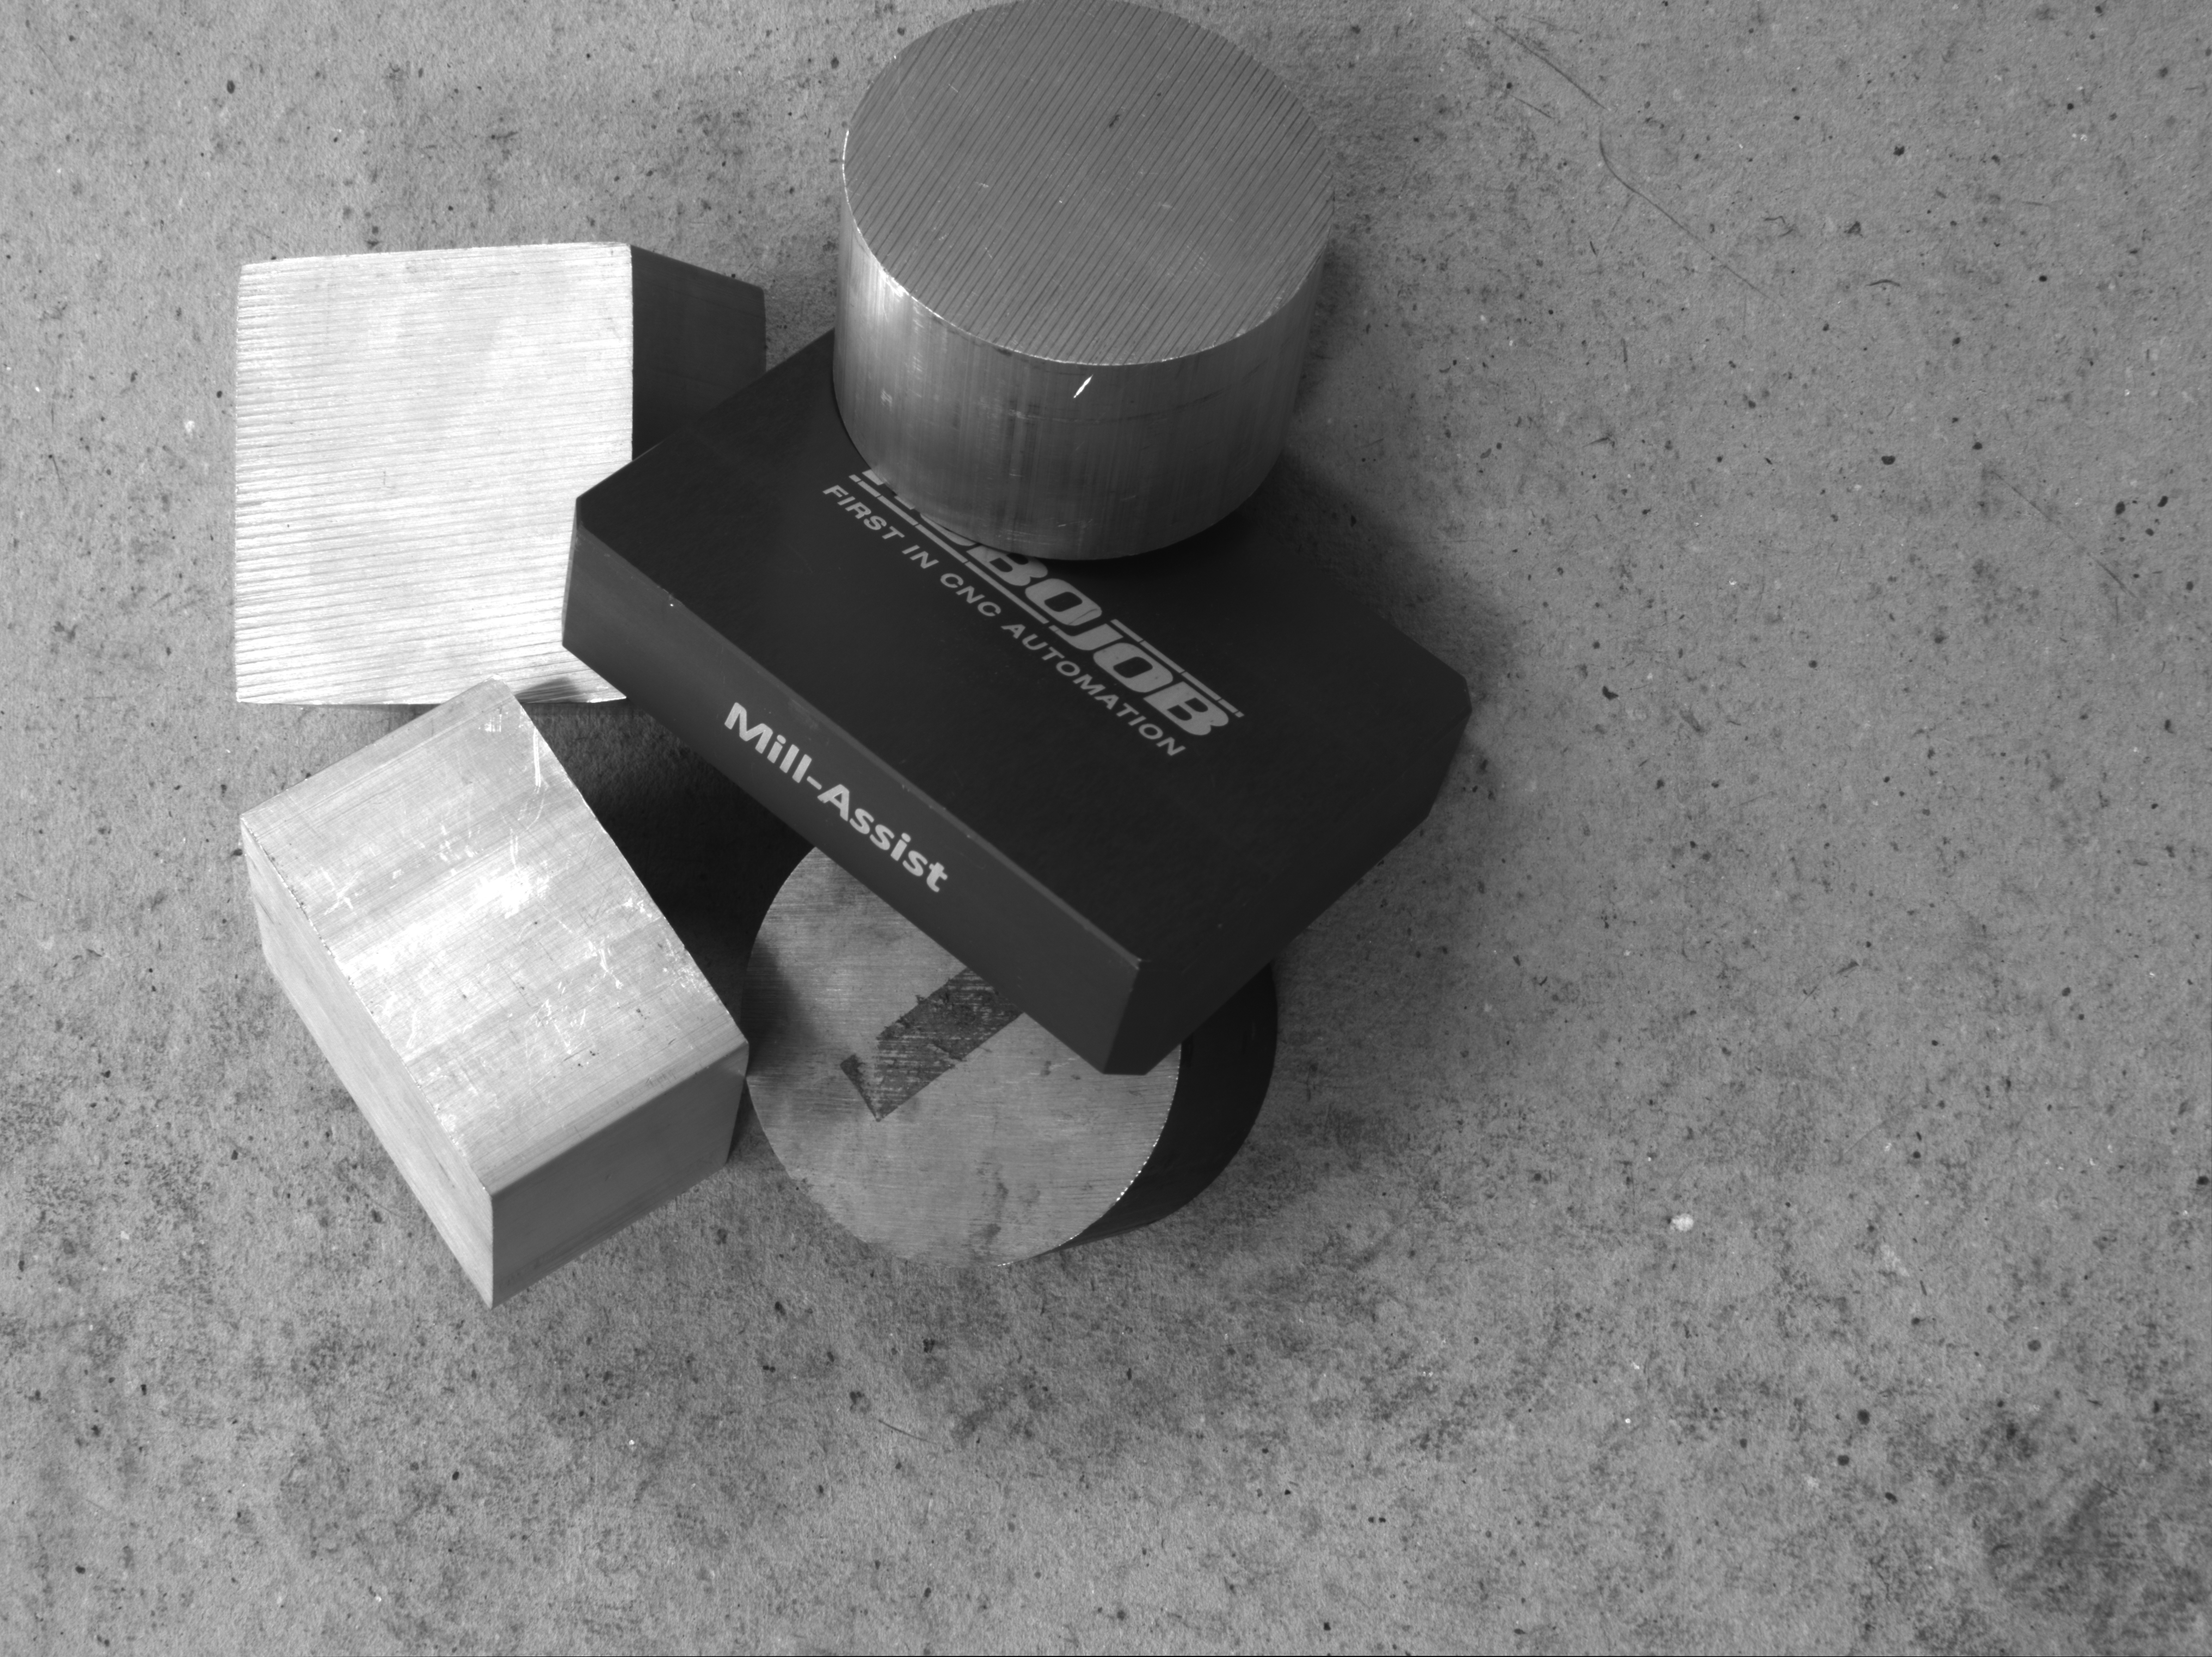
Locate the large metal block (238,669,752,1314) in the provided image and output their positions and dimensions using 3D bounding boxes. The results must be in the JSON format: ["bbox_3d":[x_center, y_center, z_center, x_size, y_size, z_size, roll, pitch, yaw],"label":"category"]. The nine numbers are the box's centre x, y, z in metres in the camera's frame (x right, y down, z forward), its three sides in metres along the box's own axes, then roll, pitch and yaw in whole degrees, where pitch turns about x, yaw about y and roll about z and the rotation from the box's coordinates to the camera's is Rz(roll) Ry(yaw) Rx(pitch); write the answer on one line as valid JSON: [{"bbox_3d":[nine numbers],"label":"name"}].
[{"bbox_3d":[-0.108,0.031,0.650,0.050,0.080,0.080,-31,77,-19],"label":"large metal block"}]

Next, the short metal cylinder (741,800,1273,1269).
[{"bbox_3d":[-0.017,0.034,0.640,0.080,0.050,0.080,0,90,20],"label":"short metal cylinder"}]

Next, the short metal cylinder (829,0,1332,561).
[{"bbox_3d":[-0.005,-0.092,0.615,0.080,0.050,0.080,3,57,-5],"label":"short metal cylinder"}]

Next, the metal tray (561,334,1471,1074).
[{"bbox_3d":[-0.016,-0.028,0.620,0.130,0.090,0.030,38,142,16],"label":"metal tray"}]

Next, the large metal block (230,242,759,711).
[{"bbox_3d":[-0.111,-0.062,0.672,0.080,0.050,0.080,1,90,20],"label":"large metal block"}]
